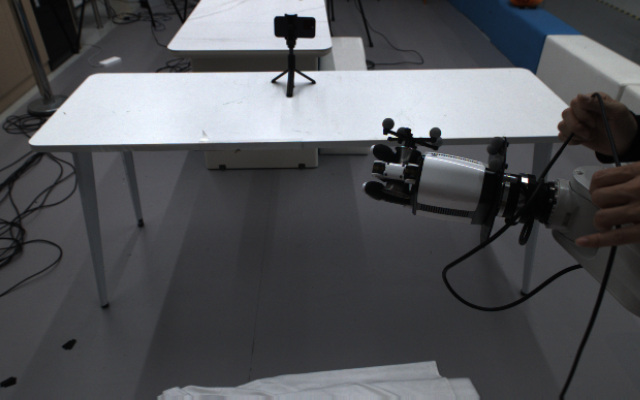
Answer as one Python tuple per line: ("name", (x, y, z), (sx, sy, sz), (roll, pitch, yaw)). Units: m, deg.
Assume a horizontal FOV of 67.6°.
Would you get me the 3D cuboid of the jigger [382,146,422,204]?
("jigger", (0.124, -0.042, 0.713), (0.043, 0.071, 0.043), (16, -7, 2))
